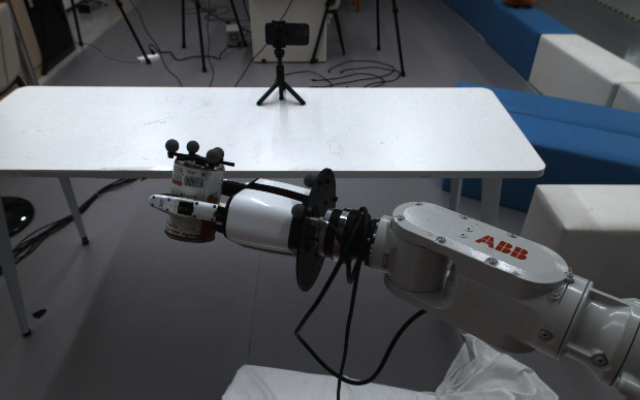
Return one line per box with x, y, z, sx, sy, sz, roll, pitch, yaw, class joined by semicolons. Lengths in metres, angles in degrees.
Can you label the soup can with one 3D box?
-0.167;0.001;0.650;0.067;0.101;0.067;10;9;-2;soup can
